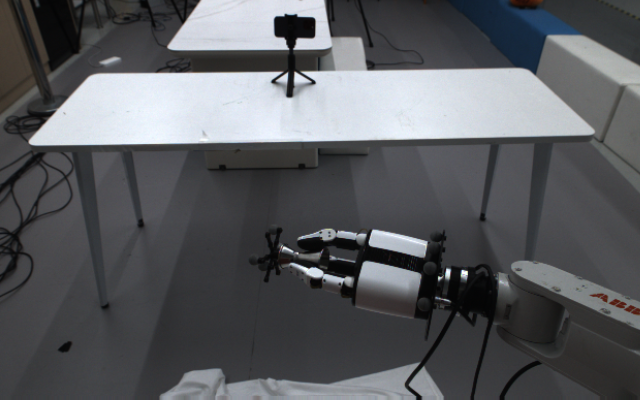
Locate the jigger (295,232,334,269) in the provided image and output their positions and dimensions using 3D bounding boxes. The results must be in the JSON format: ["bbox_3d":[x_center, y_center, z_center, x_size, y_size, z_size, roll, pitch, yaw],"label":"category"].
[{"bbox_3d":[-0.017,0.082,0.731,0.071,0.043,0.043,5,34,20],"label":"jigger"}]
